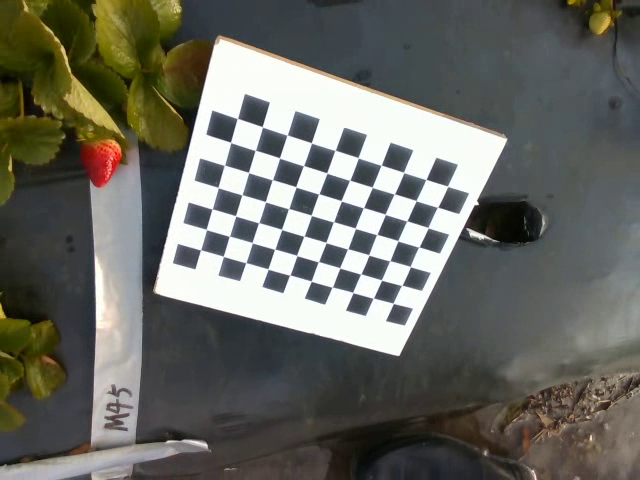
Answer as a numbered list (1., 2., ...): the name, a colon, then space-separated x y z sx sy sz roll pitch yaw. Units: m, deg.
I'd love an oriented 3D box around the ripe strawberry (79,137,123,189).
1. ripe strawberry: -0.192 -0.067 0.541 0.050 0.055 0.035 8 8 -15
